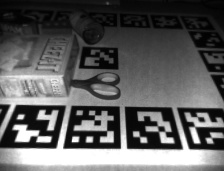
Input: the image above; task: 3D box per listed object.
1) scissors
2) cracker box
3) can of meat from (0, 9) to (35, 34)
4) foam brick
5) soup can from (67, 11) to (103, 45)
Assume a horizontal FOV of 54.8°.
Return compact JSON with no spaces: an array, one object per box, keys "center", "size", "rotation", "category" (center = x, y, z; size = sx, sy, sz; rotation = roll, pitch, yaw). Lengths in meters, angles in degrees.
[{"center":[-0.095,0.000,0.484],"size":[0.203,0.016,0.087],"rotation":[-2,47,-5],"category":"scissors"},{"center":[-0.209,-0.050,0.481],"size":[0.214,0.072,0.163],"rotation":[-4,46,-3],"category":"cracker box"},{"center":[-0.260,-0.147,0.580],"size":[0.101,0.084,0.058],"rotation":[12,48,7],"category":"can of meat"},{"center":[-0.164,-0.155,0.620],"size":[0.078,0.051,0.052],"rotation":[-6,48,-9],"category":"foam brick"},{"center":[-0.082,-0.173,0.642],"size":[0.068,0.068,0.100],"rotation":[-28,49,-26],"category":"soup can"}]
